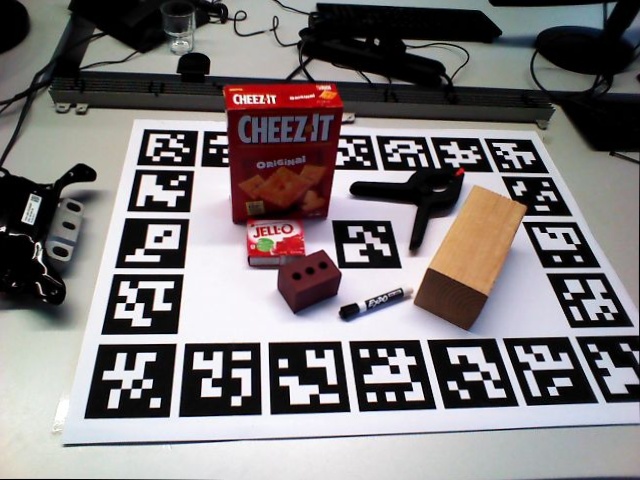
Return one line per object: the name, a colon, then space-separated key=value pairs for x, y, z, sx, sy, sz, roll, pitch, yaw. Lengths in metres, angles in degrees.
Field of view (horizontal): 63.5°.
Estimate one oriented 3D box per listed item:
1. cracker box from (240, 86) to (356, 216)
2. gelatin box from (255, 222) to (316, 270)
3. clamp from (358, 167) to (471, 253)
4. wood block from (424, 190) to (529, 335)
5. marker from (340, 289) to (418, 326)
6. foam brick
cracker box: x=-0.039 y=-0.131 z=0.780 sx=0.164 sy=0.215 sz=0.071 roll=-2 pitch=50 yaw=-11
gelatin box: x=-0.054 y=0.009 z=0.793 sx=0.089 sy=0.030 sz=0.073 roll=-1 pitch=53 yaw=-7
clamp: x=0.190 y=-0.076 z=0.882 sx=0.202 sy=0.037 sz=0.165 roll=-27 pitch=59 yaw=-25
wood block: x=0.243 y=0.026 z=0.776 sx=0.090 sy=0.091 sz=0.204 roll=26 pitch=50 yaw=17
marker: x=0.084 y=0.096 z=0.740 sx=0.121 sy=0.020 sz=0.019 roll=-17 pitch=57 yaw=-19
foam brick: x=-0.006 y=0.063 z=0.737 sx=0.078 sy=0.051 sz=0.052 roll=-21 pitch=58 yaw=-22
